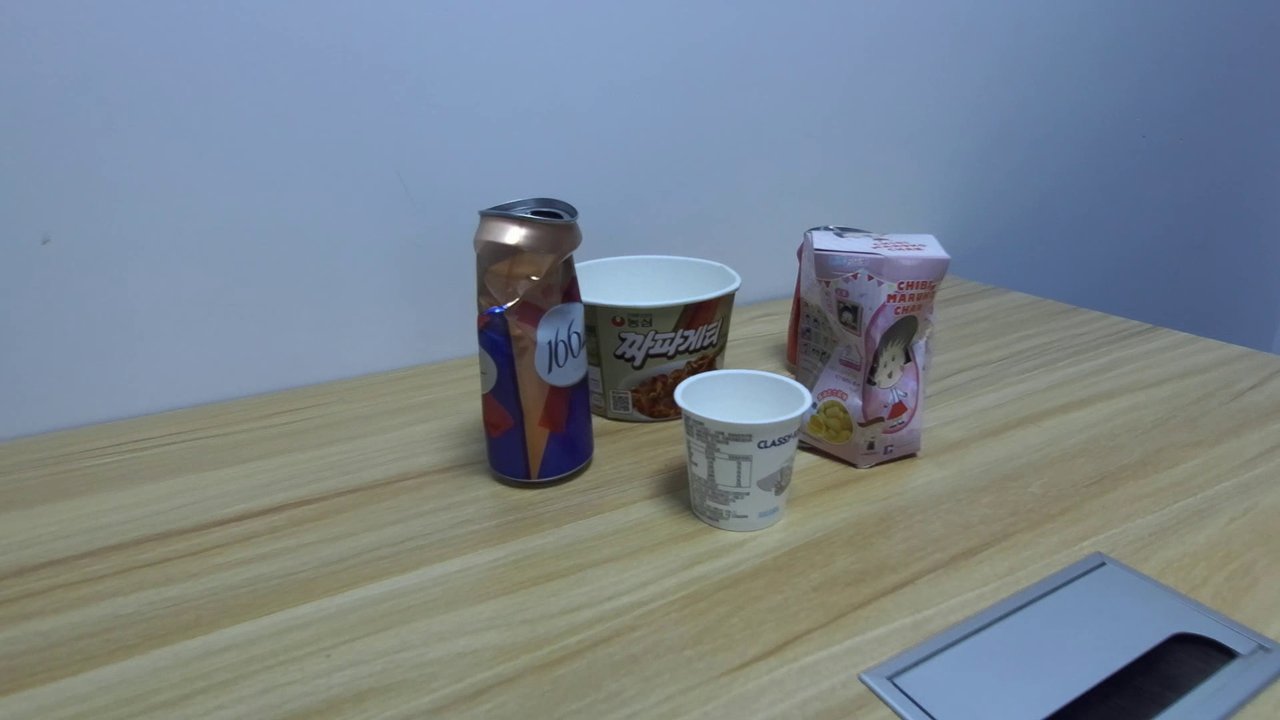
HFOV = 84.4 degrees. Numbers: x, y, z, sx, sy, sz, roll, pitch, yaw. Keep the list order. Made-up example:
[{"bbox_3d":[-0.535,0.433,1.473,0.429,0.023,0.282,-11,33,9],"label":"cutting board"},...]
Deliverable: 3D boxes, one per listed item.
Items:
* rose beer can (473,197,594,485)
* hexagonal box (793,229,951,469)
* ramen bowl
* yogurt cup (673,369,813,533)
[{"bbox_3d":[-0.063,-0.009,0.418,0.068,0.162,0.073,-7,22,-17],"label":"rose beer can"},{"bbox_3d":[0.138,-0.009,0.445,0.093,0.134,0.089,15,25,32],"label":"hexagonal box"},{"bbox_3d":[0.004,-0.018,0.529,0.140,0.095,0.140,-1,20,1],"label":"ramen bowl"},{"bbox_3d":[0.054,0.049,0.382,0.072,0.068,0.072,-1,22,1],"label":"yogurt cup"}]
